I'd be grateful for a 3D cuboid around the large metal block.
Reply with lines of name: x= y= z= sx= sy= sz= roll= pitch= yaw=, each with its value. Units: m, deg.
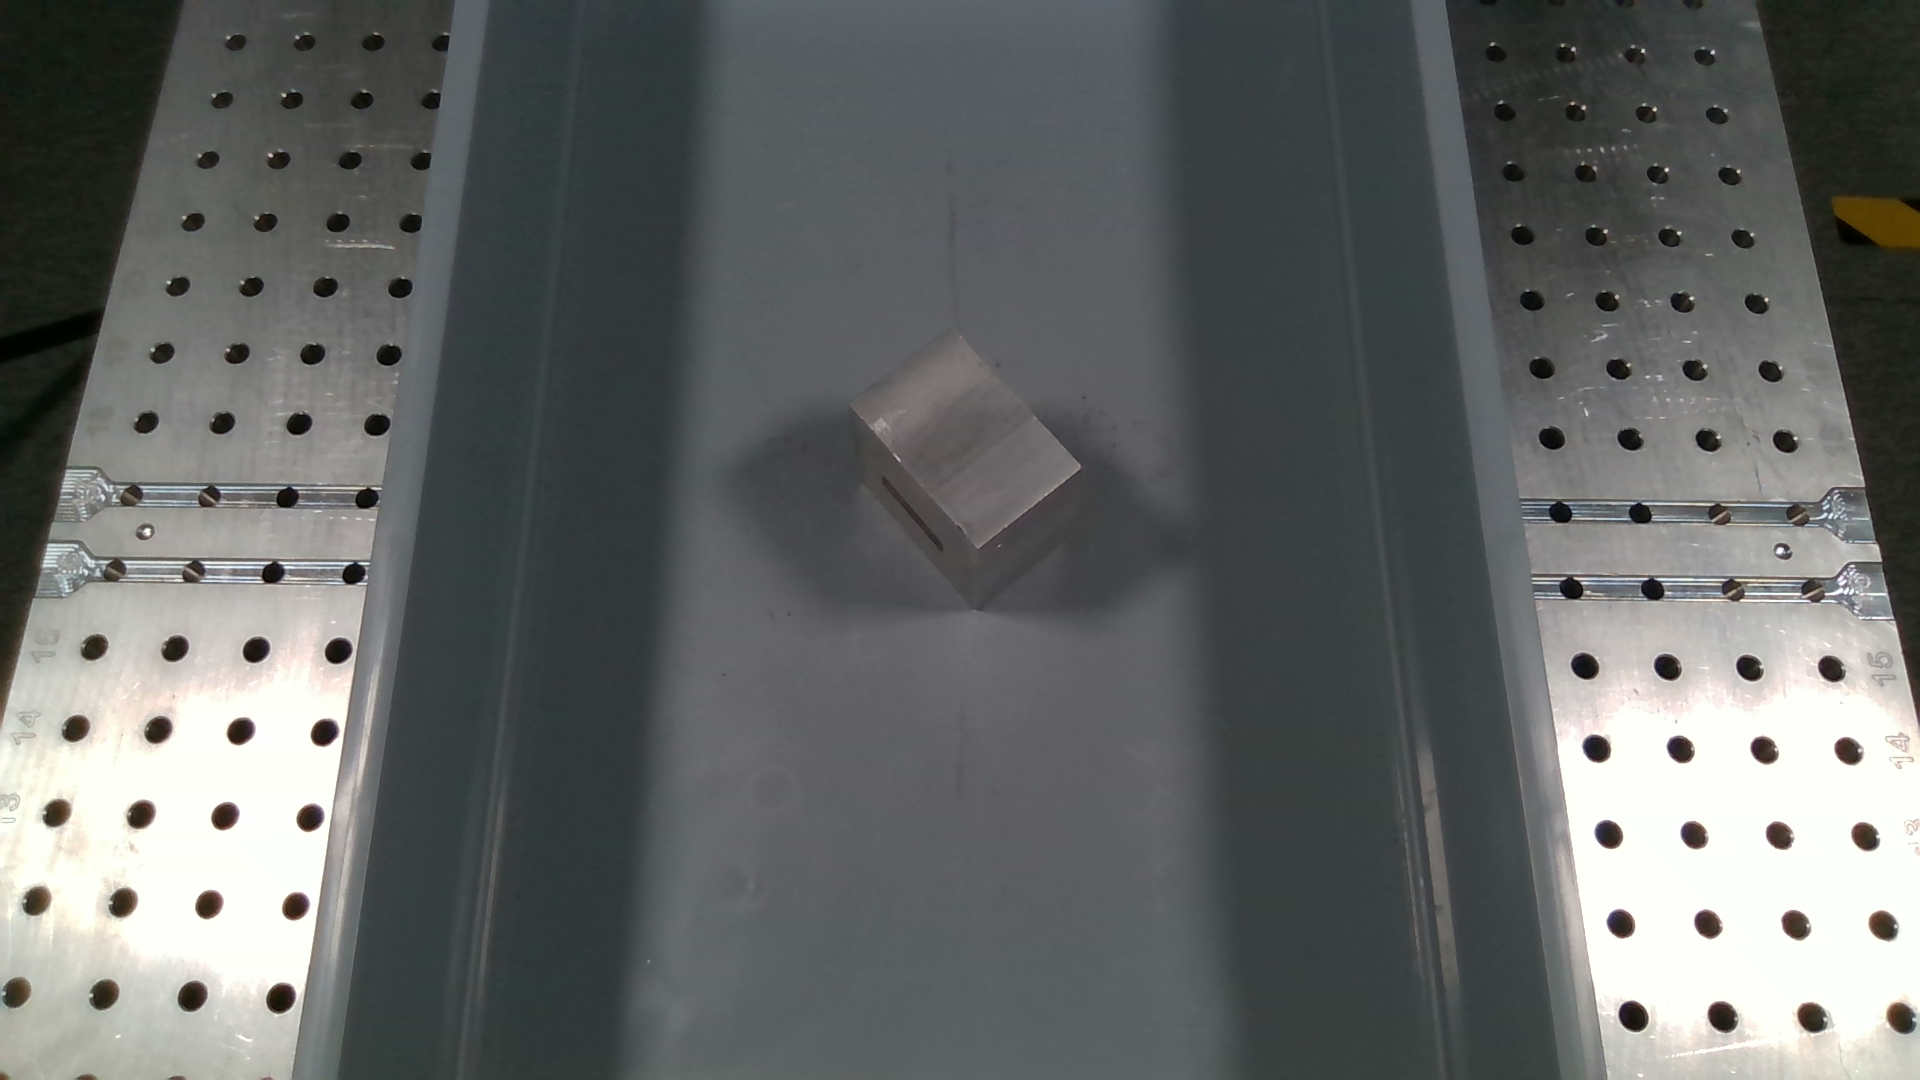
large metal block: x=0.002 y=-0.027 z=0.566 sx=0.050 sy=0.080 sz=0.080 roll=-38 pitch=75 yaw=-13
